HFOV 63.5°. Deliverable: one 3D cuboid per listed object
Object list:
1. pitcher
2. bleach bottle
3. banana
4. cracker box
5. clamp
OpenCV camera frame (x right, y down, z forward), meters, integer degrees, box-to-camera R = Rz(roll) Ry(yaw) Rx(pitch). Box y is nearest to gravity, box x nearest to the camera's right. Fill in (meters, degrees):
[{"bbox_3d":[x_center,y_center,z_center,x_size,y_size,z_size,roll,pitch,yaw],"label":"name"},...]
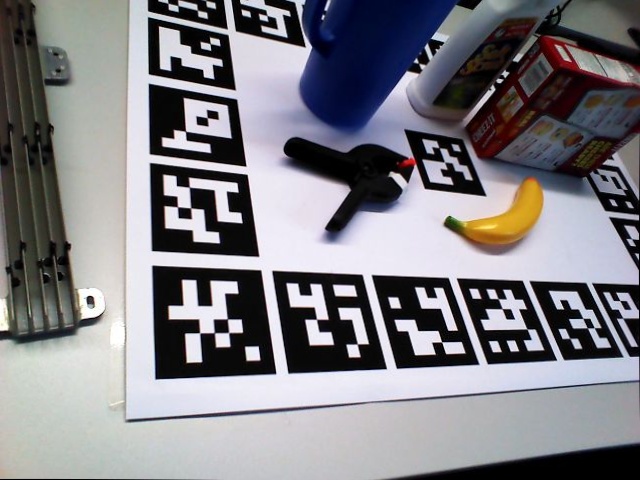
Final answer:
[{"bbox_3d":[0.074,-0.240,0.564,0.188,0.244,0.133,-15,64,-36],"label":"pitcher"},{"bbox_3d":[0.230,-0.254,0.675,0.102,0.252,0.067,3,56,-24],"label":"bleach bottle"},{"bbox_3d":[0.263,-0.026,0.680,0.074,0.039,0.196,47,51,11],"label":"banana"},{"bbox_3d":[0.373,-0.168,0.722,0.213,0.165,0.071,4,53,-22],"label":"cracker box"},{"bbox_3d":[0.062,-0.062,0.597,0.164,0.037,0.121,-12,62,-34],"label":"clamp"}]
